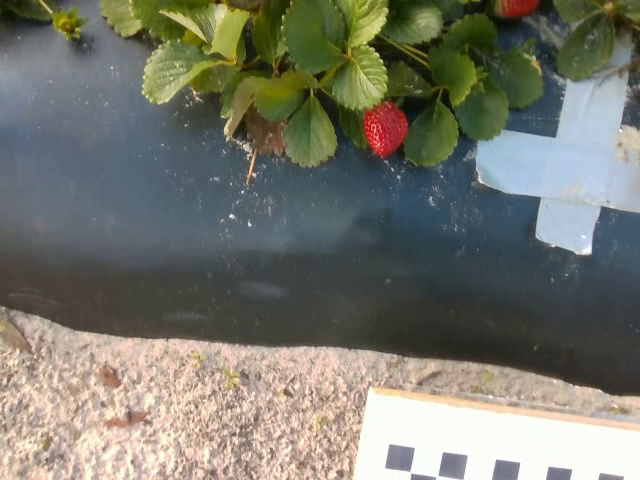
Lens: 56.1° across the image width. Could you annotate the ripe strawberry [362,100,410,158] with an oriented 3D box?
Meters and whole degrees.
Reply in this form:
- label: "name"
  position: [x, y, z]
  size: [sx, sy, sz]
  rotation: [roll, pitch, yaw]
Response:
- label: "ripe strawberry"
  position: [0.024, -0.039, 0.218]
  size: [0.018, 0.023, 0.020]
  rotation: [2, -22, 15]
